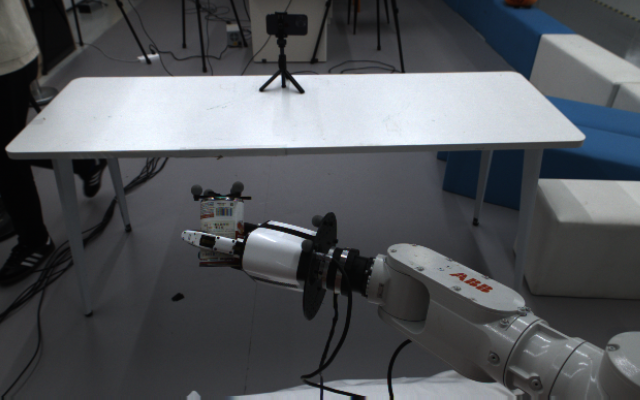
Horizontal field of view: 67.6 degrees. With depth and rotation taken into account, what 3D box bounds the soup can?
[{"bbox_3d":[-0.149,0.052,0.738,0.067,0.101,0.067,-1,-9,0],"label":"soup can"}]
